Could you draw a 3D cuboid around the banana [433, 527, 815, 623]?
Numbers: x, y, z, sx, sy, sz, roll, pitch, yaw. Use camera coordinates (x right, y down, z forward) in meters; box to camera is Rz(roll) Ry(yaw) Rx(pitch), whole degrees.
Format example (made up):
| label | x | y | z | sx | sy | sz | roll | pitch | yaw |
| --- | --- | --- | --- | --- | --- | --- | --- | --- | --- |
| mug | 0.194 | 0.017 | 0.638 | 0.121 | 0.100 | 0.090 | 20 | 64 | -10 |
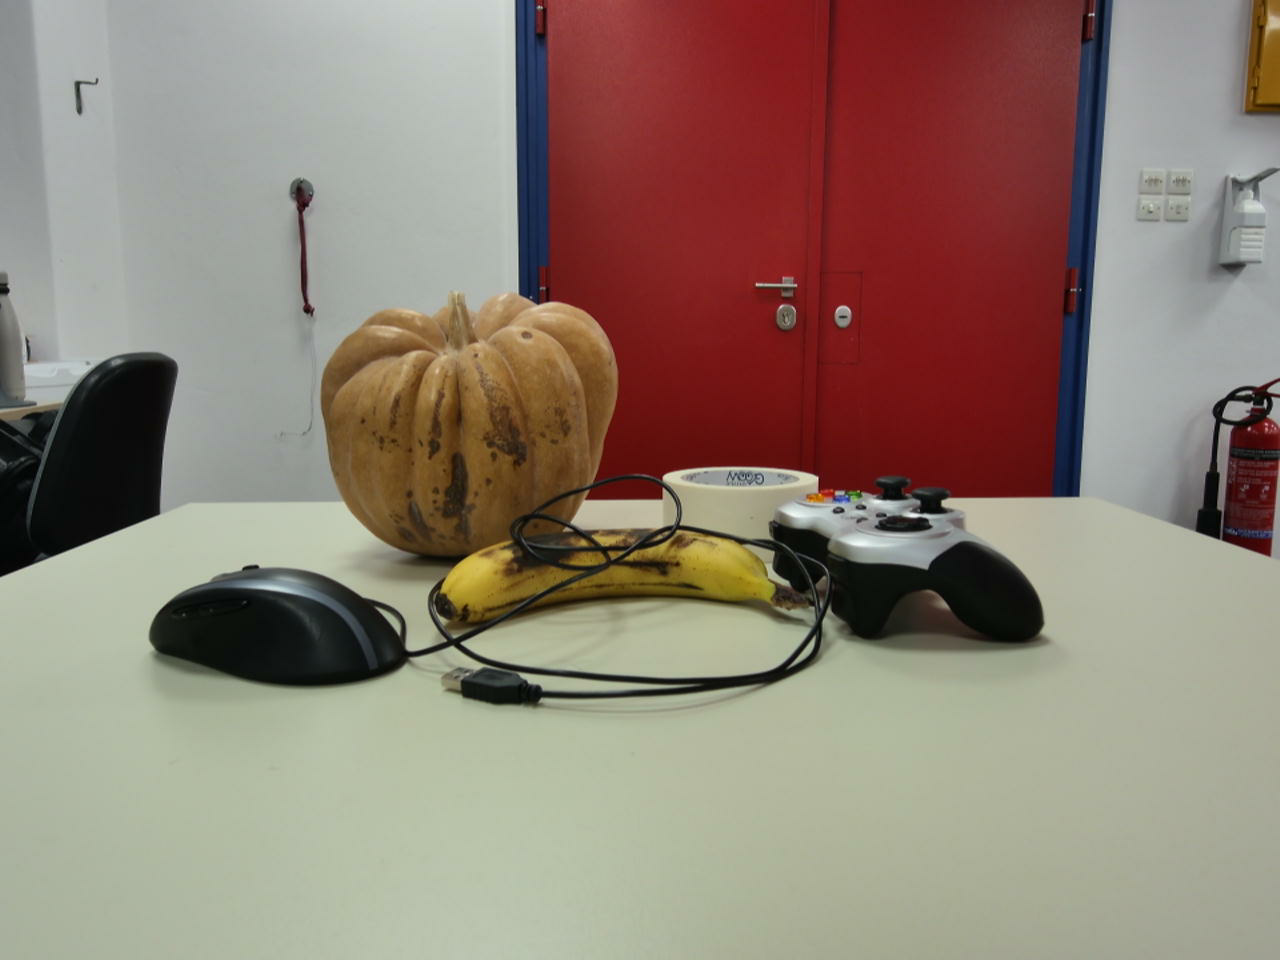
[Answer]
| label | x | y | z | sx | sy | sz | roll | pitch | yaw |
| --- | --- | --- | --- | --- | --- | --- | --- | --- | --- |
| banana | -0.011 | 0.049 | 0.533 | 0.187 | 0.039 | 0.094 | 0 | 6 | -3 |
